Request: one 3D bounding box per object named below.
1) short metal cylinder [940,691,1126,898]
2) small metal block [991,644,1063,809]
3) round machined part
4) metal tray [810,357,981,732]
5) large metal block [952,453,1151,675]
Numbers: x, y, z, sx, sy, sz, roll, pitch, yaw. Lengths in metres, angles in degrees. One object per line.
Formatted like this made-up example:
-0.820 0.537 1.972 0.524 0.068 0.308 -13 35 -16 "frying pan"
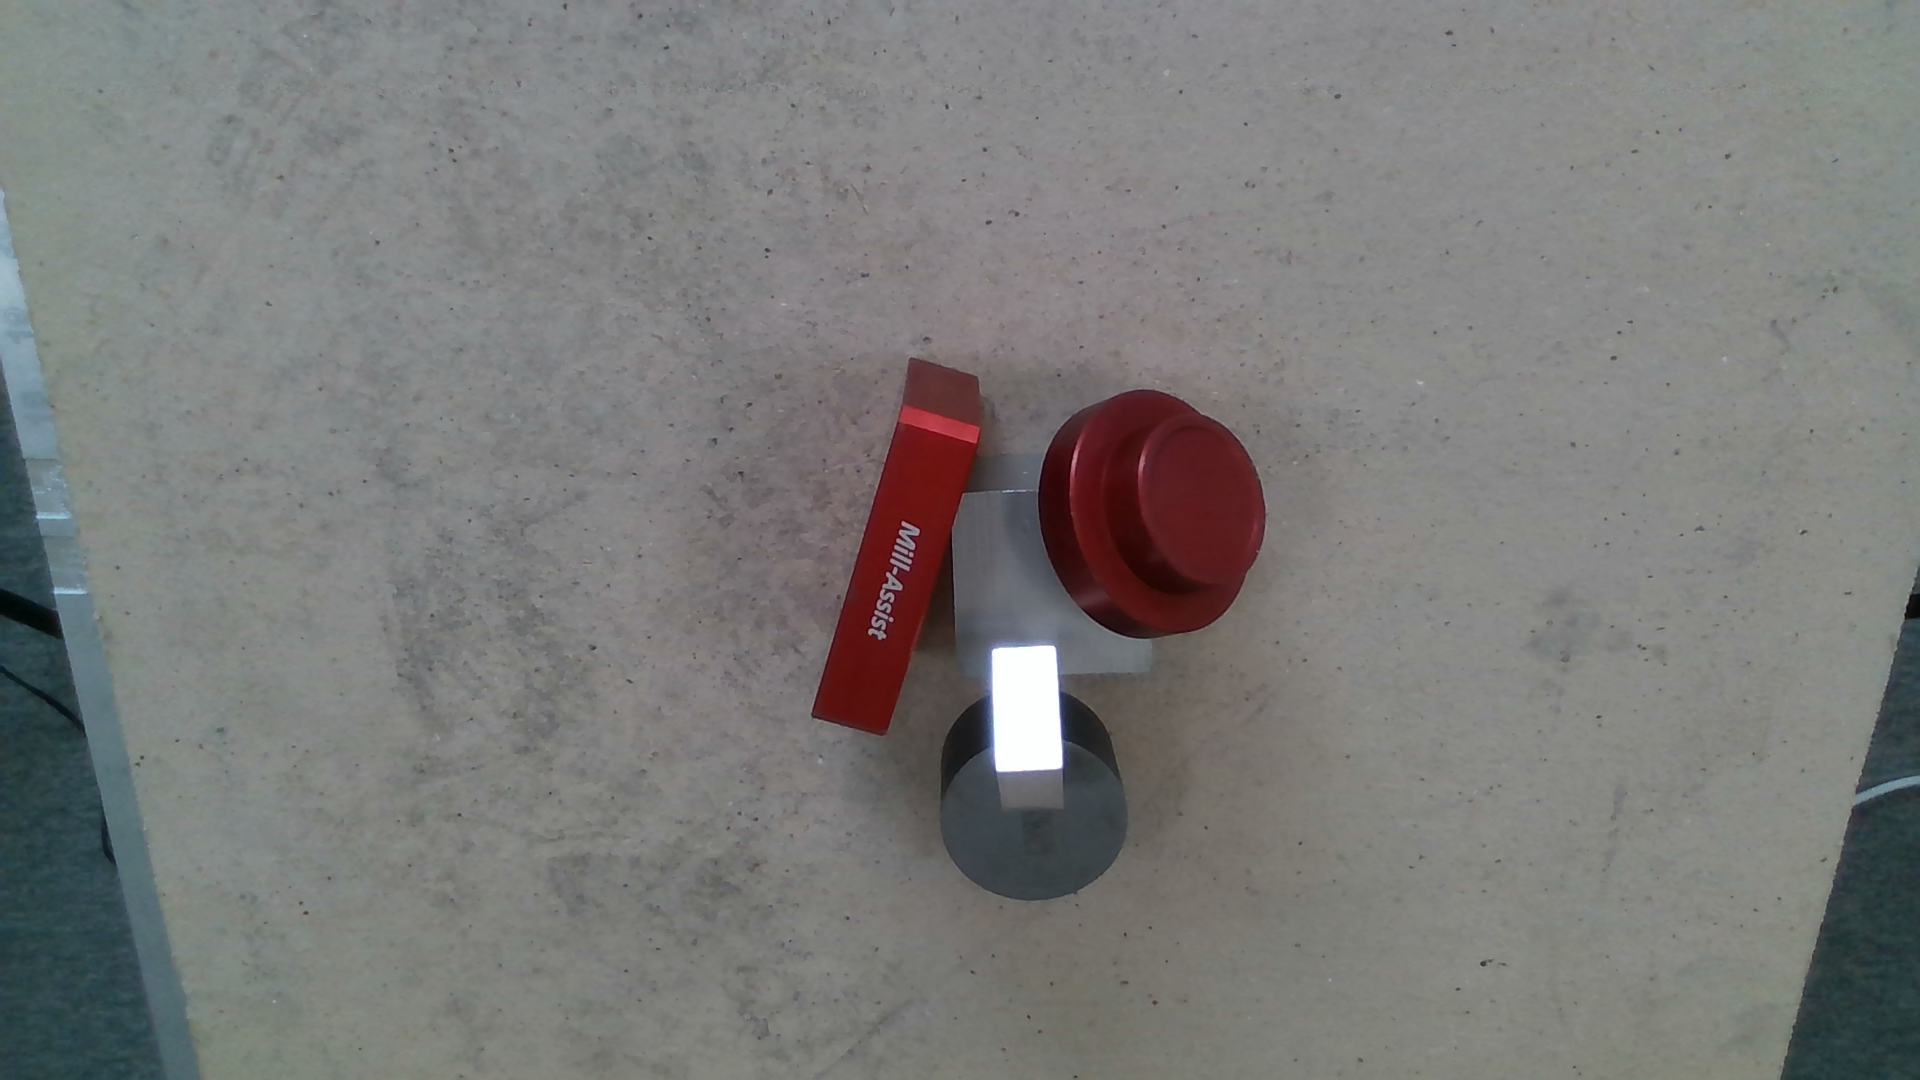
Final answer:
0.031 0.111 0.614 0.080 0.050 0.080 0 110 0 "short metal cylinder"
0.027 0.075 0.551 0.025 0.050 0.050 -3 152 4 "small metal block"
0.081 -0.013 0.541 0.098 0.098 0.042 52 147 -16 "round machined part"
-0.025 0.000 0.550 0.030 0.090 0.130 16 110 -5 "metal tray"
0.037 0.008 0.576 0.080 0.050 0.080 -1 110 1 "large metal block"
